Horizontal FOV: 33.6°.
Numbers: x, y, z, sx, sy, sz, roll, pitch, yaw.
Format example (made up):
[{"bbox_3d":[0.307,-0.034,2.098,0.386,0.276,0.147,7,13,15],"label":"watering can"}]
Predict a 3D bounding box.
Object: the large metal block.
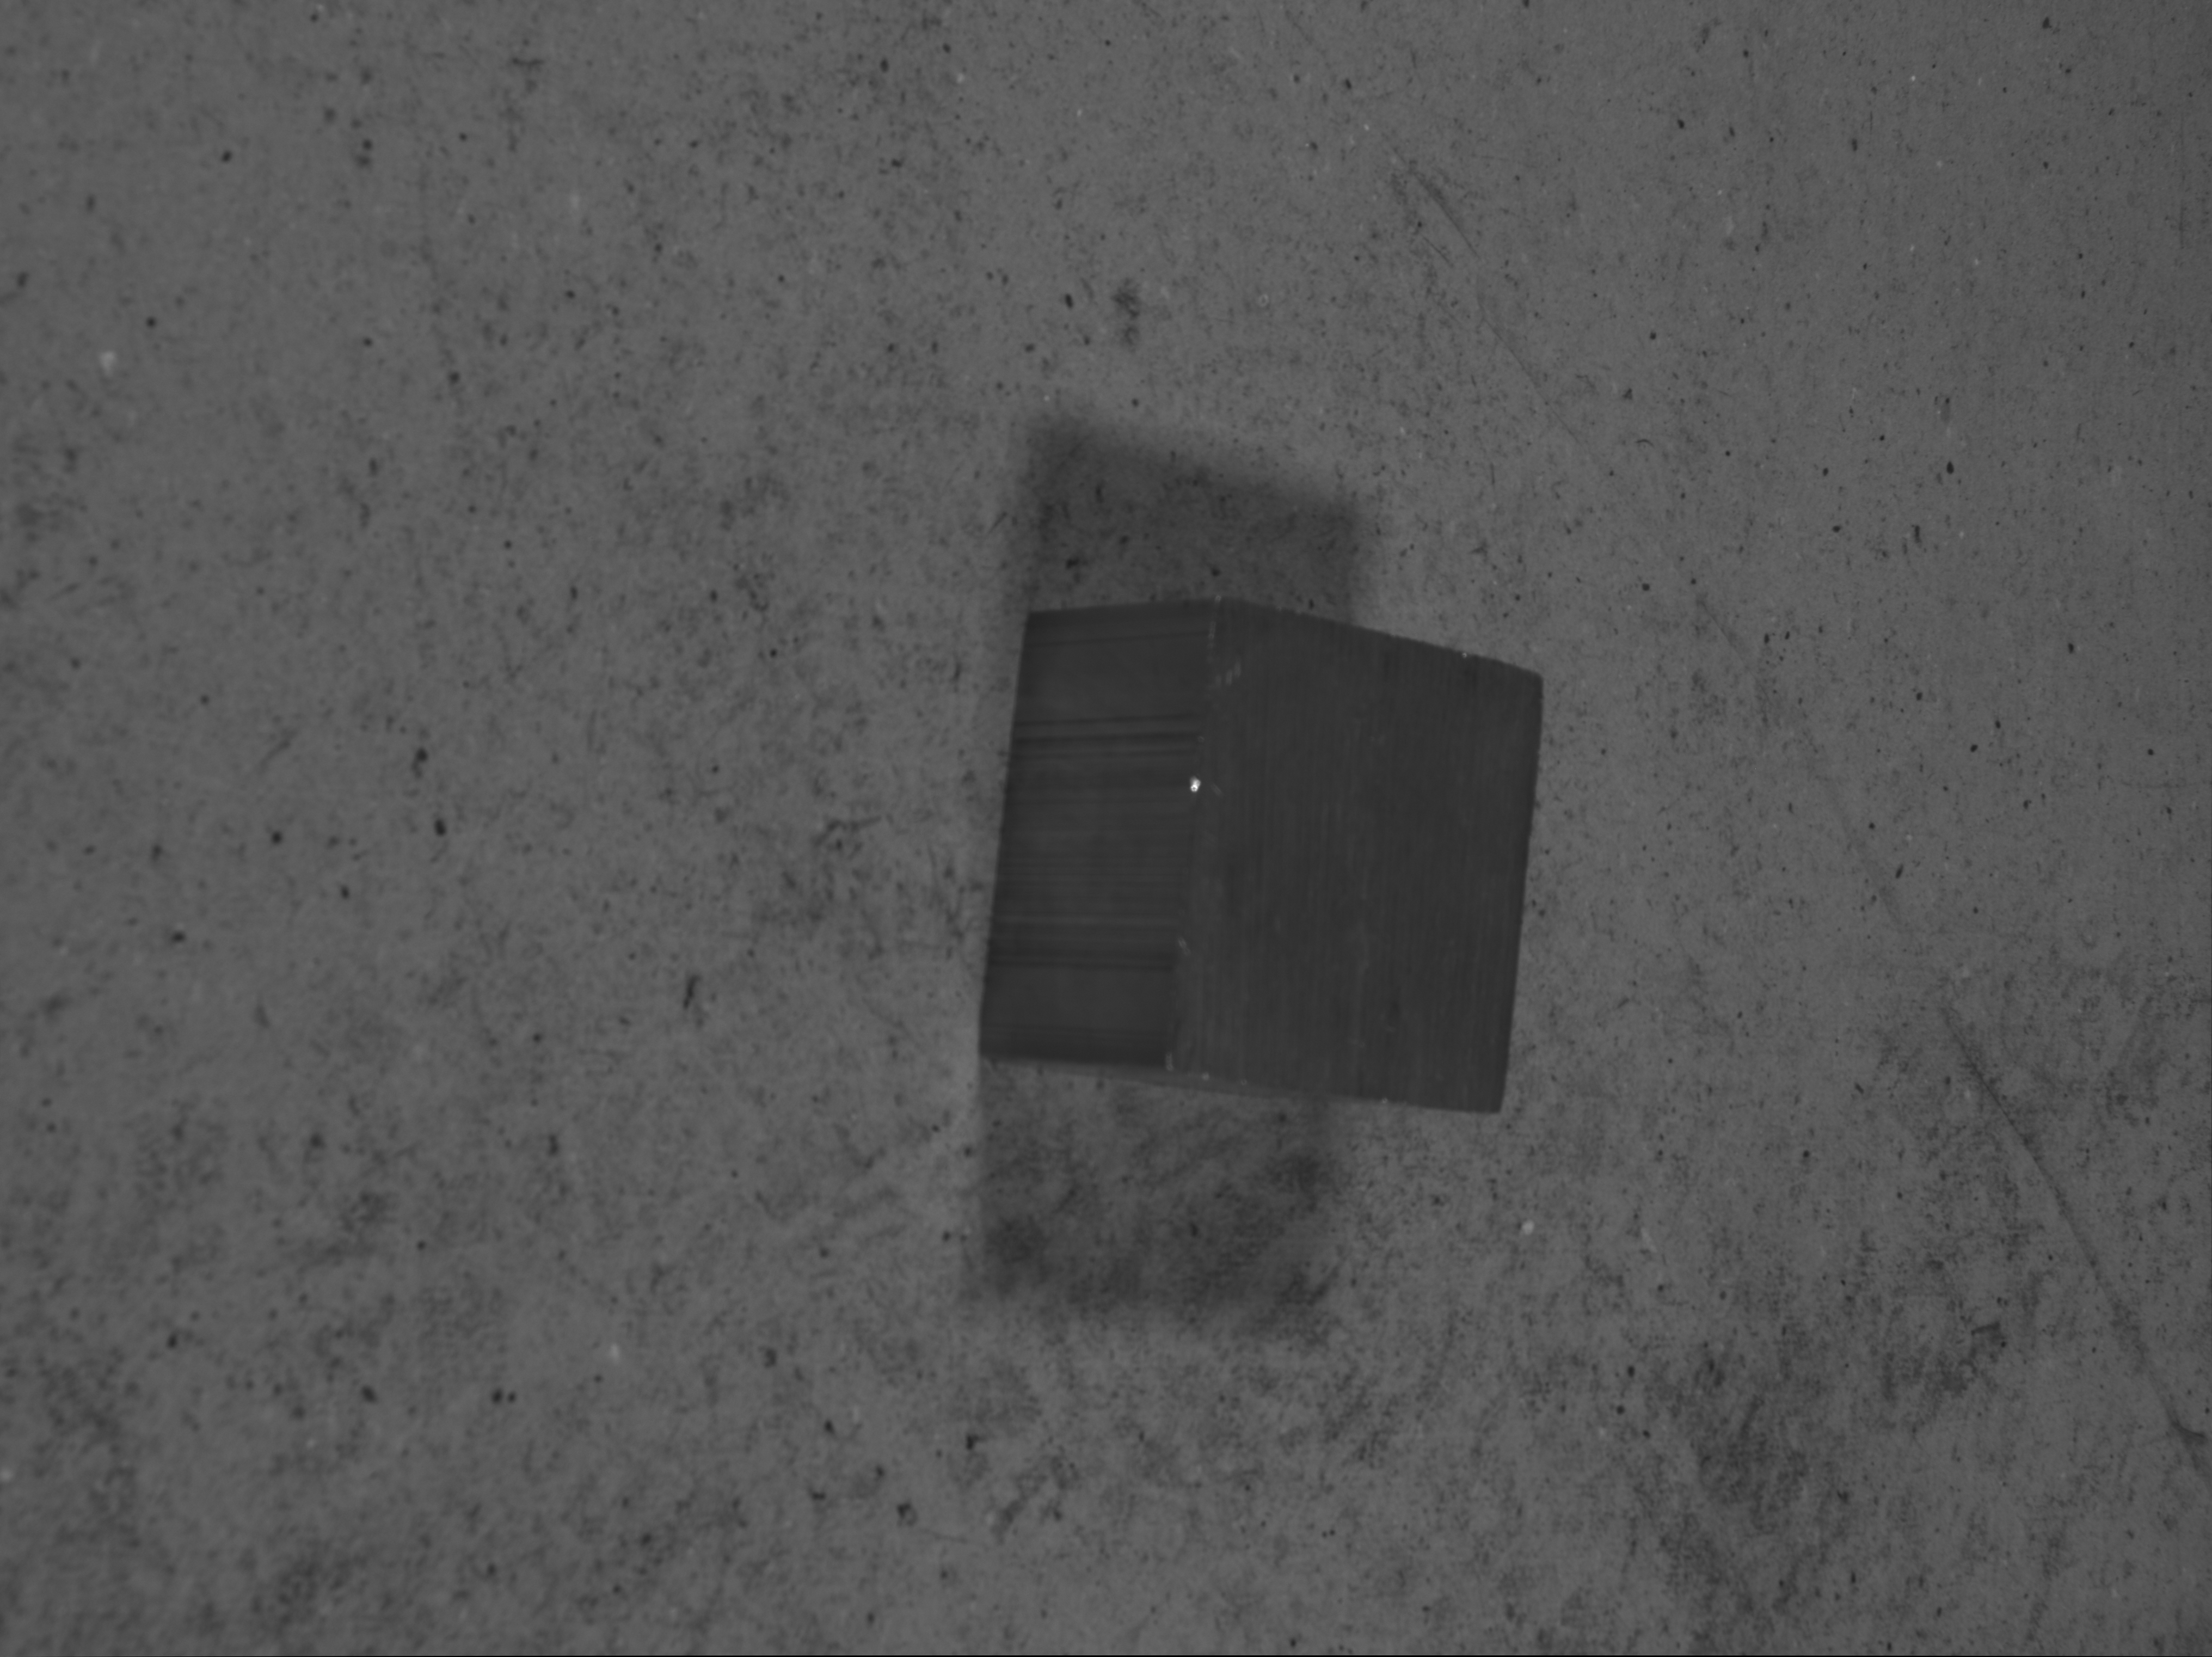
[{"bbox_3d":[0.030,0.006,0.647,0.080,0.050,0.080,10,83,-39],"label":"large metal block"}]
